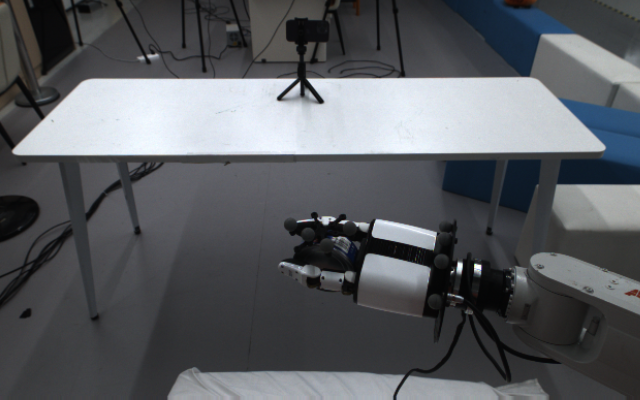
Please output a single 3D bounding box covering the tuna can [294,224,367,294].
[{"bbox_3d":[0.012,0.085,0.641,0.085,0.085,0.034,12,39,13],"label":"tuna can"}]
